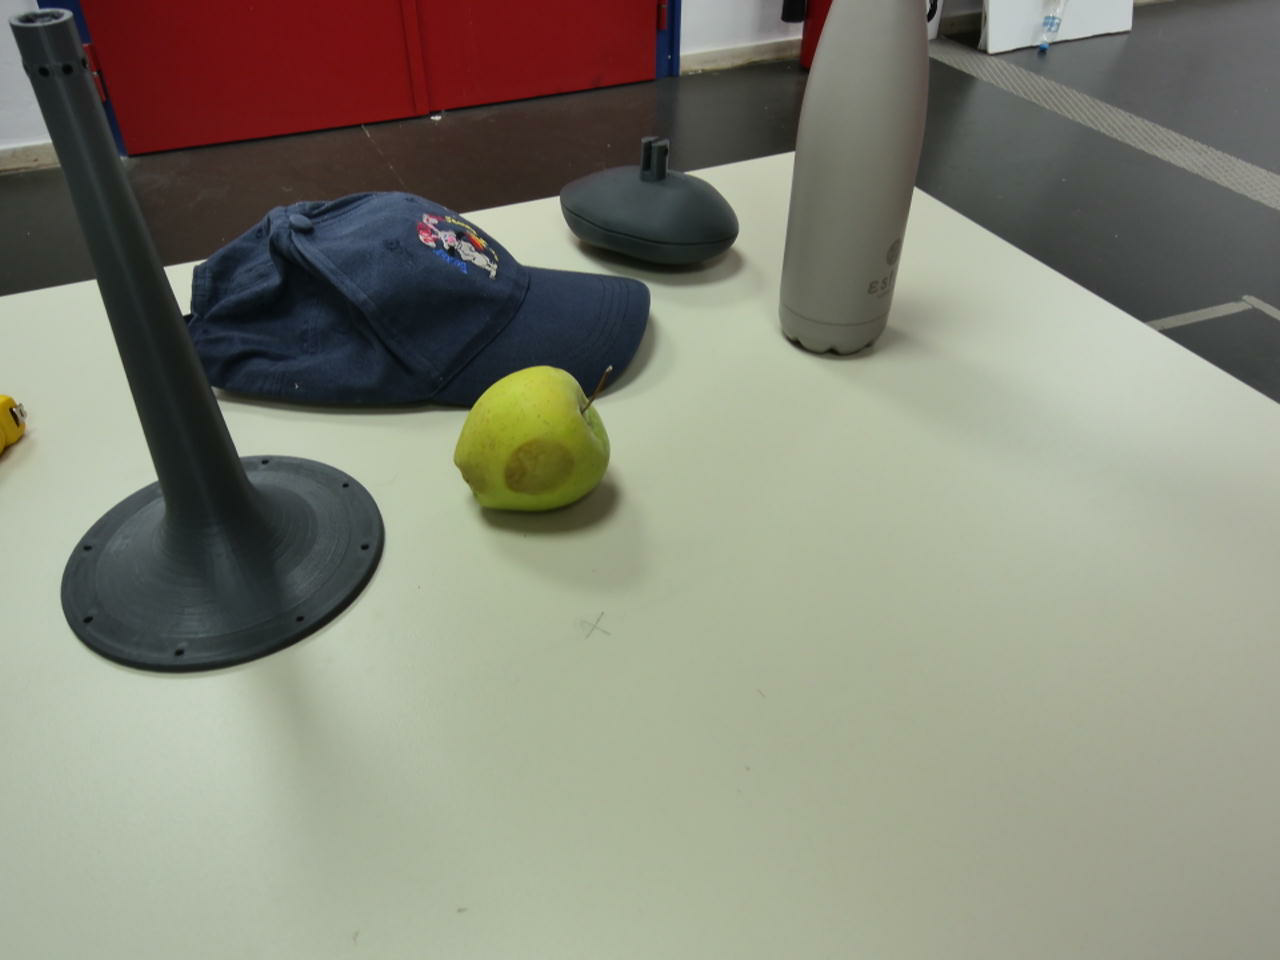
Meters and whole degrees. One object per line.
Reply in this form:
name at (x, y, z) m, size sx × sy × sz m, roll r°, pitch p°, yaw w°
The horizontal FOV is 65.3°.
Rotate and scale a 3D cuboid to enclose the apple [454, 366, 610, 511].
apple at (-0.054, -0.022, 0.516) m, size 0.077 × 0.075 × 0.072 m, roll 13°, pitch 40°, yaw 14°
